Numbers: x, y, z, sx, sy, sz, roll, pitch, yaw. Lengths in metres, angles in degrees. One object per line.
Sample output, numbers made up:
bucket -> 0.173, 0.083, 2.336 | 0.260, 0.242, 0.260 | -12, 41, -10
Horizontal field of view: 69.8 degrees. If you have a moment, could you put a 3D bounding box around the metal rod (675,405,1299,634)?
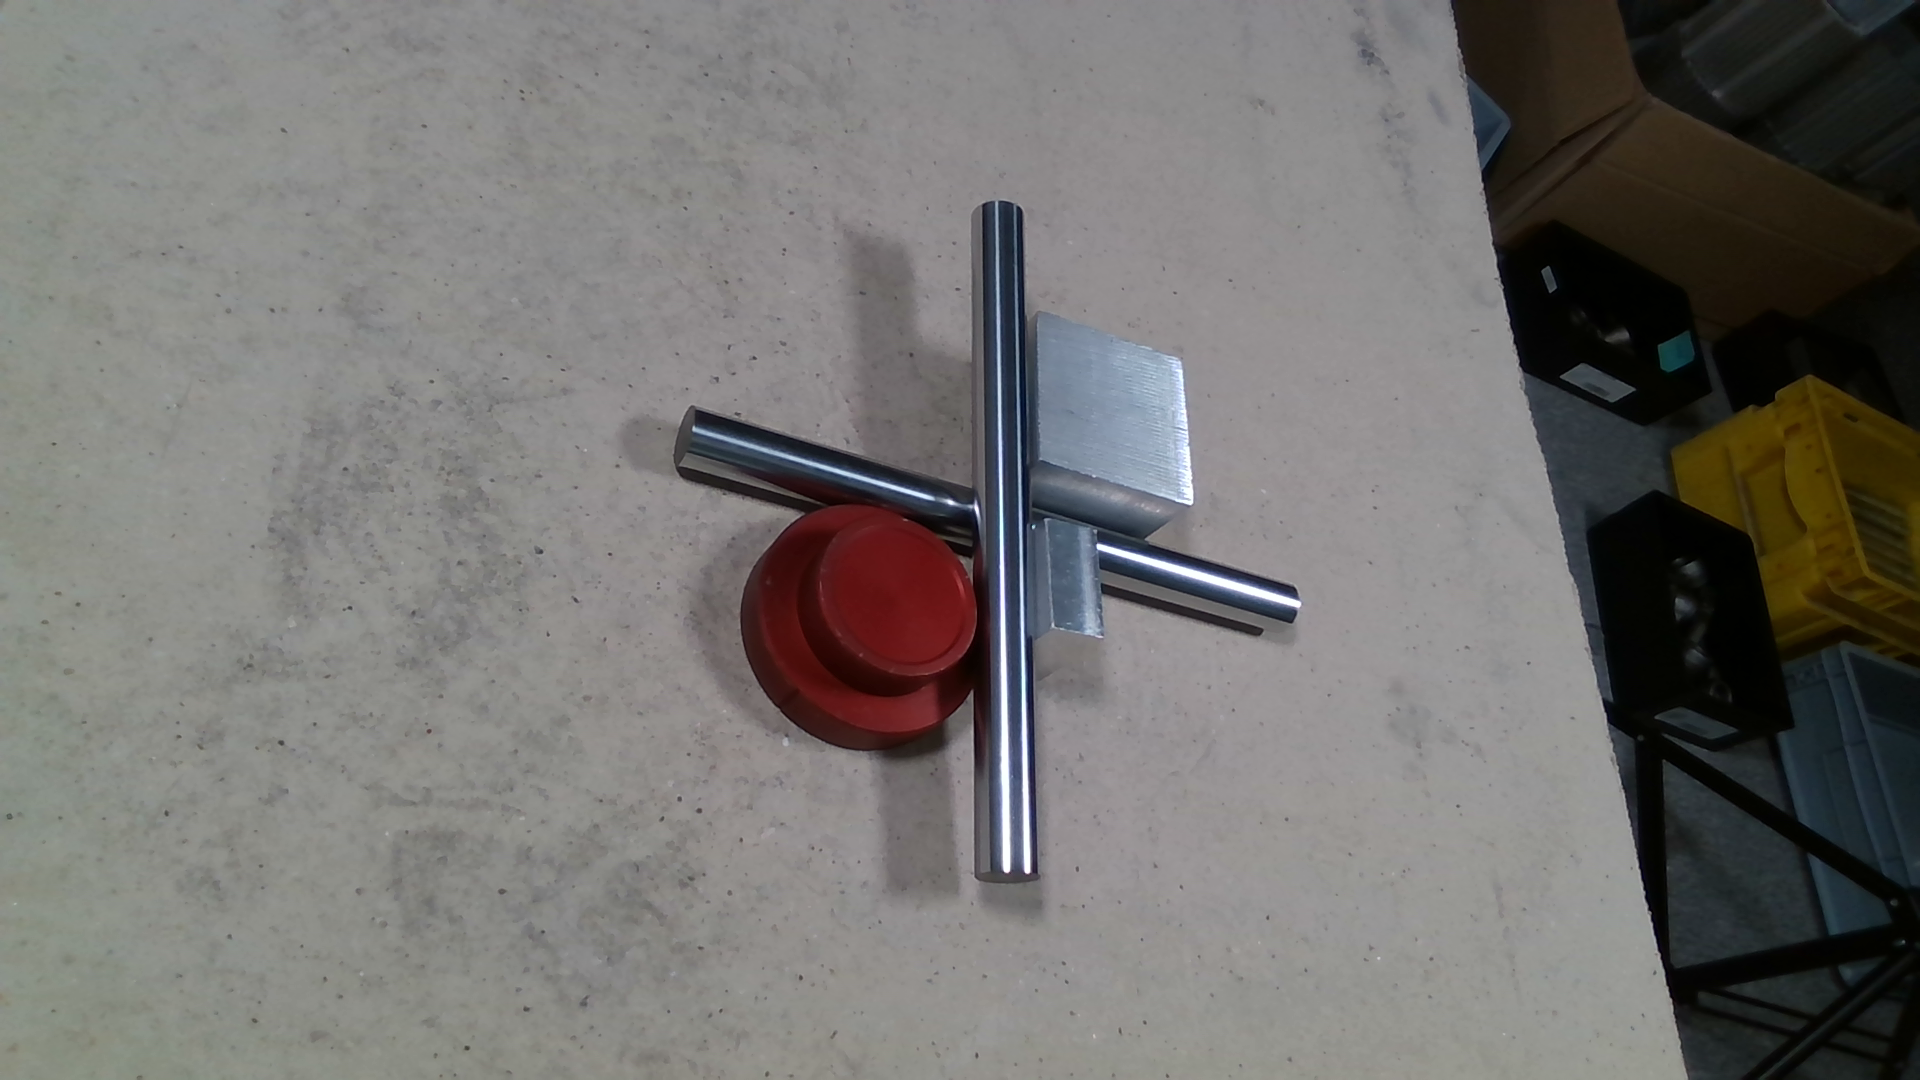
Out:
metal rod -> 0.023, -0.004, 0.603 | 0.300, 0.025, 0.025 | 16, 58, -24

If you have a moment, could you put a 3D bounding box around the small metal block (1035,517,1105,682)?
small metal block -> 0.035, 0.026, 0.578 | 0.025, 0.050, 0.050 | 13, 59, -26

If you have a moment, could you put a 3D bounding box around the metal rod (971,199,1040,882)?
metal rod -> 0.017, -0.012, 0.571 | 0.025, 0.025, 0.299 | 12, 63, -26

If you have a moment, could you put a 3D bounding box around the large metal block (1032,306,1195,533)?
large metal block -> 0.057, -0.049, 0.631 | 0.080, 0.050, 0.080 | 15, 58, -24

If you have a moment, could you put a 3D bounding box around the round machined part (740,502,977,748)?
round machined part -> -0.033, 0.029, 0.539 | 0.098, 0.042, 0.098 | 14, 59, -25
